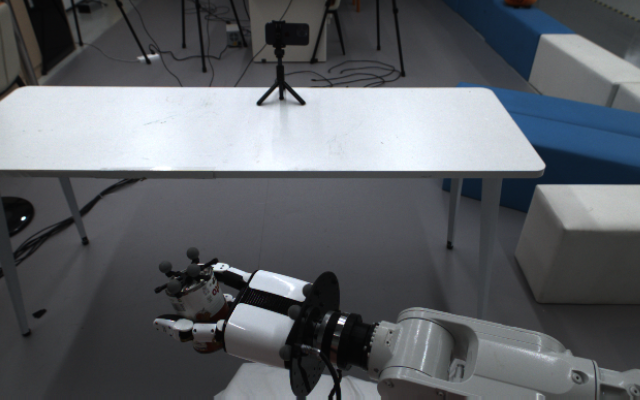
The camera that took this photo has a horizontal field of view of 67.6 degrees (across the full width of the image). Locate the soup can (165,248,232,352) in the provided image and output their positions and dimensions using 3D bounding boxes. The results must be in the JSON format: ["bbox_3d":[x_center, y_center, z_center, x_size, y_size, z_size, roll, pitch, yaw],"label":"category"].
[{"bbox_3d":[-0.159,0.151,0.663,0.067,0.101,0.067,-16,22,7],"label":"soup can"}]
